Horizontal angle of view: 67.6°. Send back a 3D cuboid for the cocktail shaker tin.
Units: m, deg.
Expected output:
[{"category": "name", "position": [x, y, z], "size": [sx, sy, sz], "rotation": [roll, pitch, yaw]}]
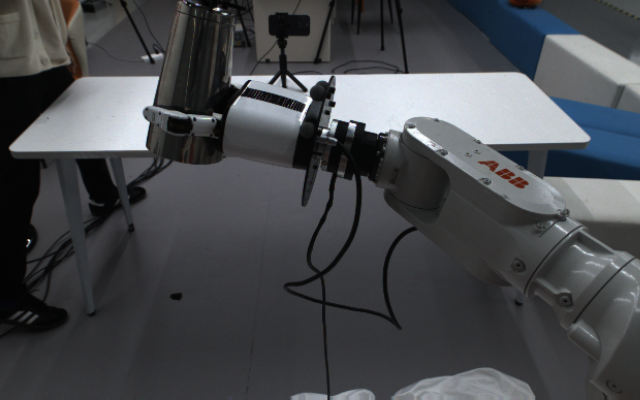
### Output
[{"category": "cocktail shaker tin", "position": [-0.146, -0.137, 0.567], "size": [0.093, 0.170, 0.093], "rotation": [13, 20, -5]}]
